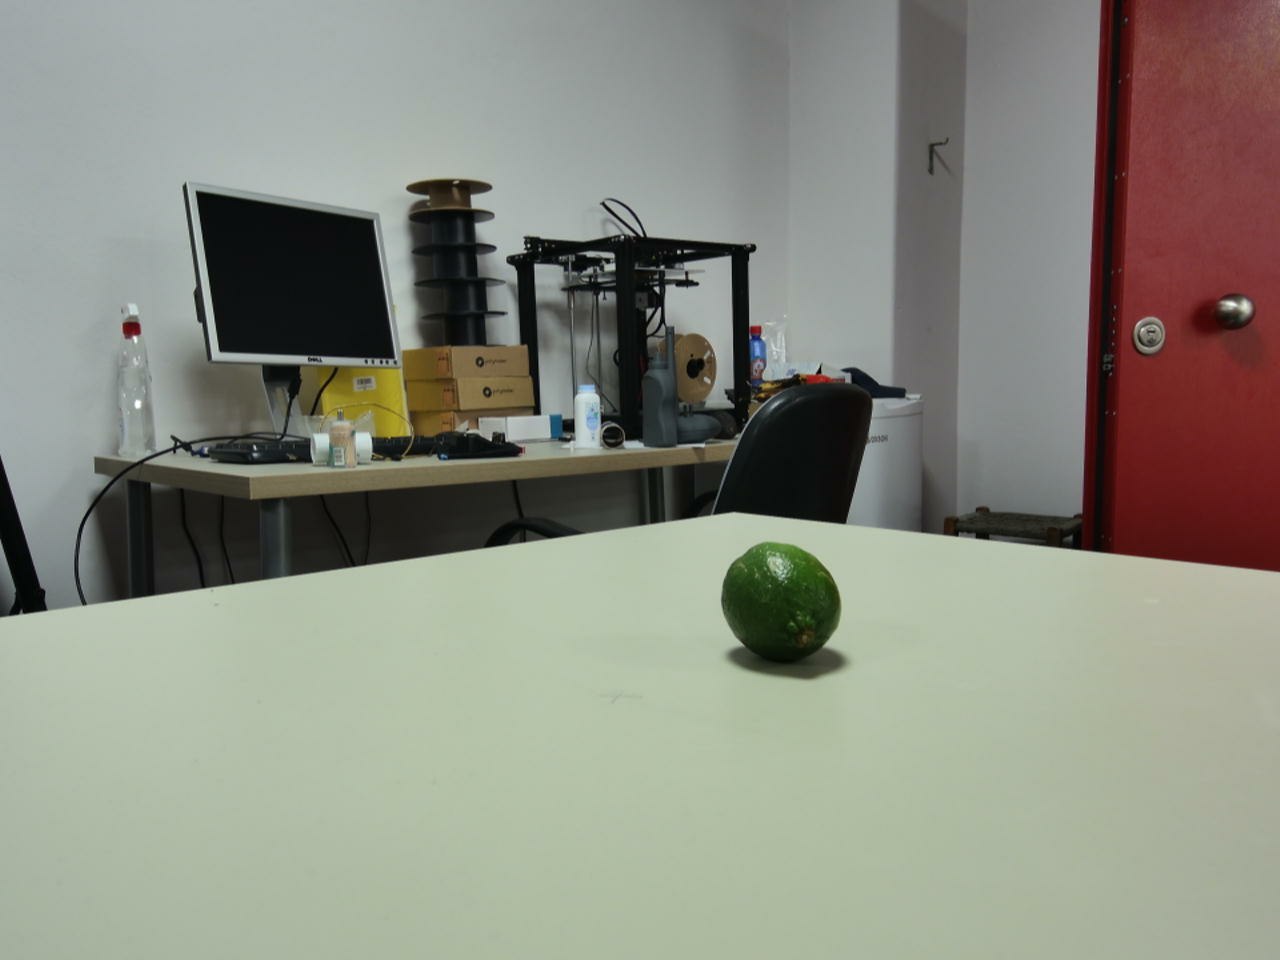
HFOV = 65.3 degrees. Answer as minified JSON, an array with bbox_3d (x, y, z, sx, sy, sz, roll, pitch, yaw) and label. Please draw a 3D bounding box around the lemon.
[{"bbox_3d":[0.065,0.054,0.454,0.054,0.051,0.057,-3,4,-44],"label":"lemon"}]
